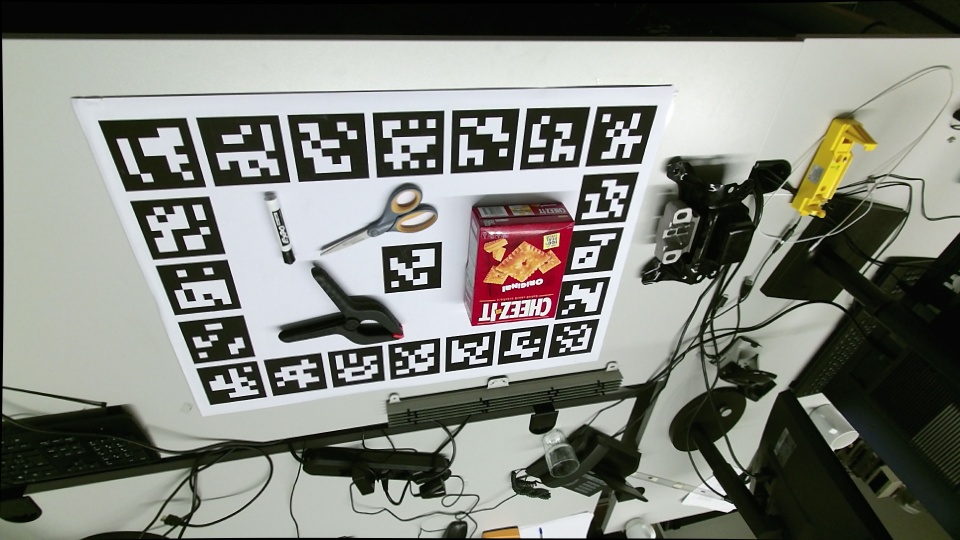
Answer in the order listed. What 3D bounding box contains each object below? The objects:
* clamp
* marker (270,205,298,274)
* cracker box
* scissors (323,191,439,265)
[{"bbox_3d":[-0.225,0.099,0.966,0.203,0.036,0.165,22,119,-29],"label":"clamp"},{"bbox_3d":[-0.301,-0.043,0.825,0.020,0.019,0.121,-8,129,-11],"label":"marker"},{"bbox_3d":[0.064,0.006,0.945,0.165,0.071,0.213,-4,127,-14],"label":"cracker box"},{"bbox_3d":[-0.163,-0.053,0.862,0.203,0.016,0.088,-27,131,7],"label":"scissors"}]
